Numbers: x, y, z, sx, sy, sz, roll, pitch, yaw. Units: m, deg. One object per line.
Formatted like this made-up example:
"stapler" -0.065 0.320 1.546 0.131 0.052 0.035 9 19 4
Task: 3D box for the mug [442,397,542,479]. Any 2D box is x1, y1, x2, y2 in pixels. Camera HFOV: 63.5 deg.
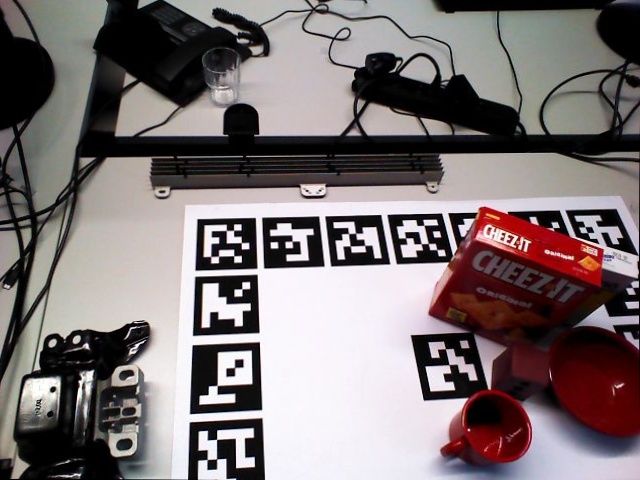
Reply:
"mug" 0.215 0.266 0.670 0.117 0.082 0.093 -8 51 -7

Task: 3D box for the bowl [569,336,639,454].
"bowl" 0.417 0.219 0.722 0.162 0.055 0.160 2 59 -3

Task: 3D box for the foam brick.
"foam brick" 0.293 0.194 0.733 0.053 0.078 0.051 13 57 5

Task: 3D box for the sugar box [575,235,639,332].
"sugar box" 0.387 0.069 0.754 0.093 0.177 0.045 18 58 8

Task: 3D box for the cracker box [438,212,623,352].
"cracker box" 0.278 0.070 0.725 0.164 0.214 0.071 26 57 11
